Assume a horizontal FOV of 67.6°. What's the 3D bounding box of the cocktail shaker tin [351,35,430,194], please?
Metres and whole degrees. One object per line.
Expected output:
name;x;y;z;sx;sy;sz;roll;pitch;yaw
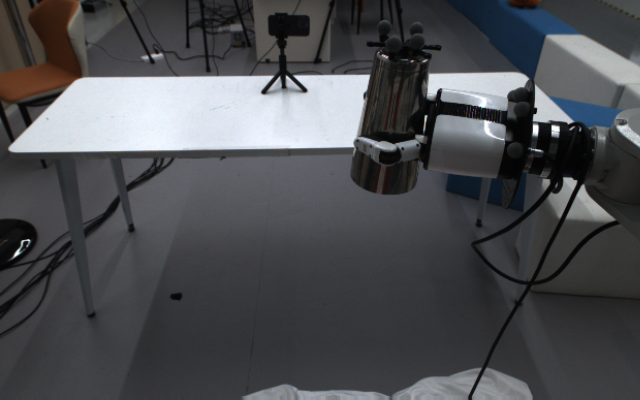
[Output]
cocktail shaker tin;0.094;-0.105;0.617;0.093;0.170;0.093;3;34;-2
